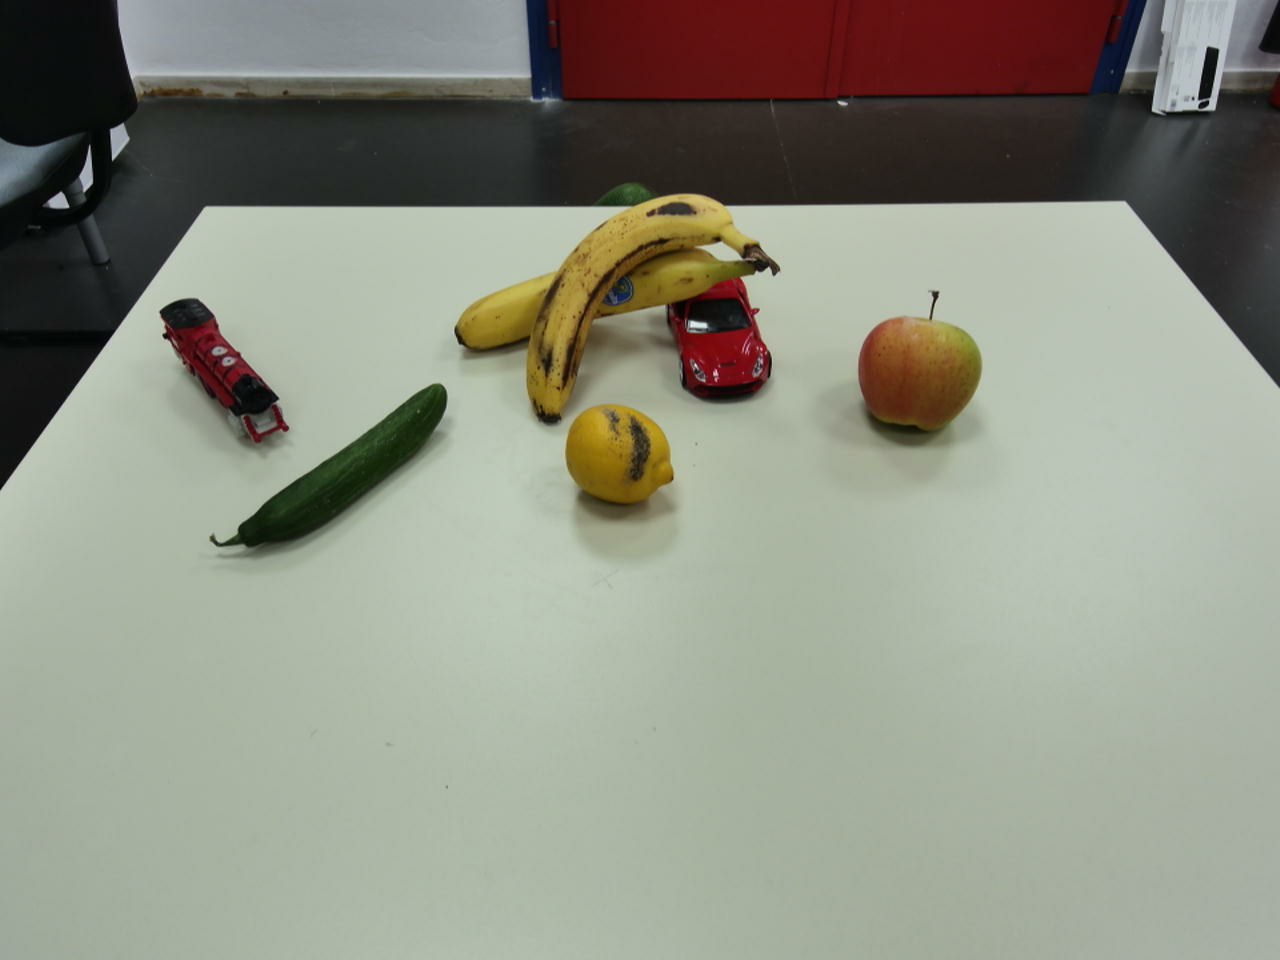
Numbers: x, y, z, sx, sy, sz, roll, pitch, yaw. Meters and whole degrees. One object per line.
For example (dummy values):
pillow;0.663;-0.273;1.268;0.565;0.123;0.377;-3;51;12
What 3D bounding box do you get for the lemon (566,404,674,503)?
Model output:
lemon;-0.013;-0.016;0.585;0.061;0.056;0.058;-6;40;-6
